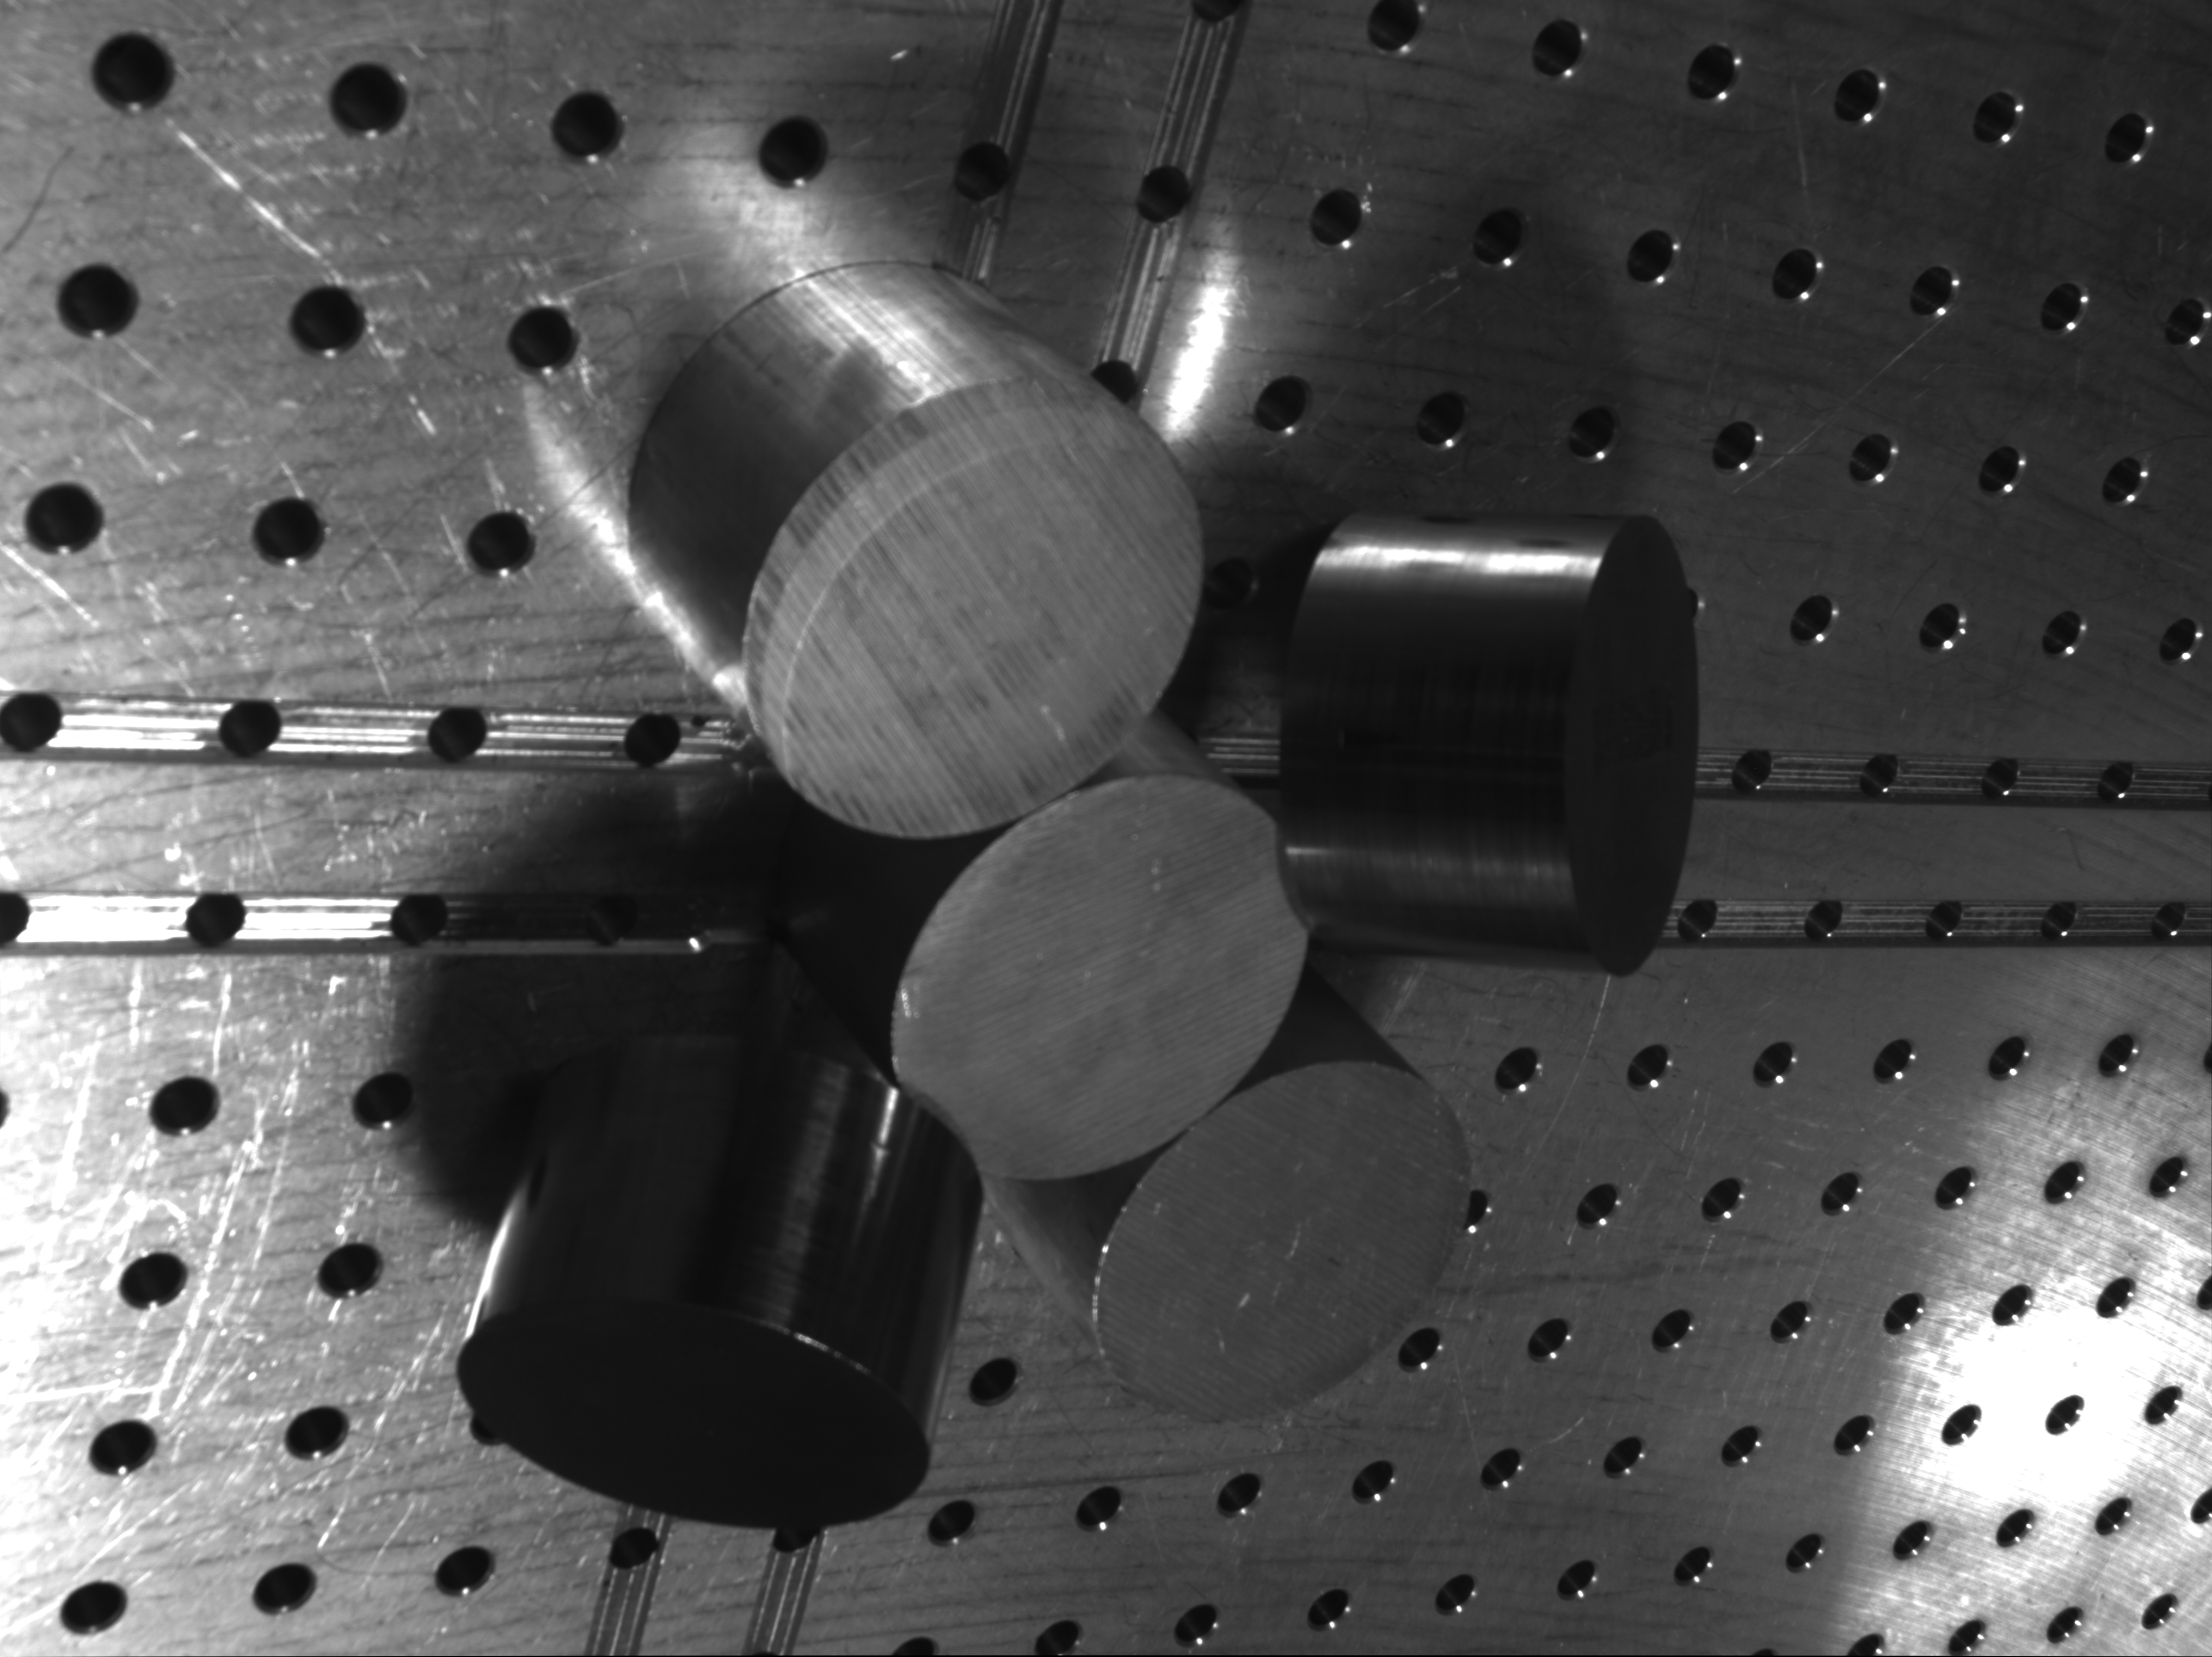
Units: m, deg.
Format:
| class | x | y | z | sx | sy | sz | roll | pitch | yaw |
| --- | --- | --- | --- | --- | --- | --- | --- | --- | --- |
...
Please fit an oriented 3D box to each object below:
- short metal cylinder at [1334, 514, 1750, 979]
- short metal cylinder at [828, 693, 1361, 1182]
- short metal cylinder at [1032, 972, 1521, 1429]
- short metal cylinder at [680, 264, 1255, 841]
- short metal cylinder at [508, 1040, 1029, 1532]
| class | x | y | z | sx | sy | sz | roll | pitch | yaw |
| --- | --- | --- | --- | --- | --- | --- | --- | --- | --- |
| short metal cylinder | 0.078 | -0.015 | 0.647 | 0.080 | 0.050 | 0.080 | 4 | 90 | -65 |
| short metal cylinder | -0.002 | 0.015 | 0.645 | 0.080 | 0.050 | 0.080 | -15 | 125 | -22 |
| short metal cylinder | 0.032 | 0.067 | 0.697 | 0.080 | 0.050 | 0.080 | -15 | 125 | -22 |
| short metal cylinder | -0.023 | -0.045 | 0.596 | 0.080 | 0.050 | 0.080 | -15 | 125 | -22 |
| short metal cylinder | -0.057 | 0.079 | 0.627 | 0.080 | 0.050 | 0.080 | 8 | 144 | 6 |
